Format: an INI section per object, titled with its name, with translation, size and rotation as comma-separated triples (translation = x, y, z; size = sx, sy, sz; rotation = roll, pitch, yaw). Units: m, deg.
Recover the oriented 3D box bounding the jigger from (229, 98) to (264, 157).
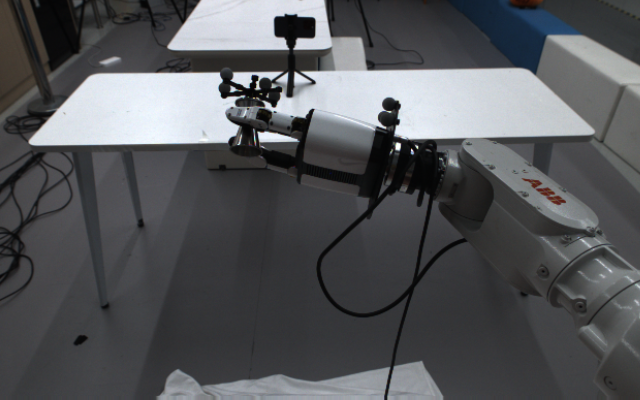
[jigger]
translation = -0.097, -0.096, 0.640
size = 0.043, 0.043, 0.071
rotation = 3, 76, 1
